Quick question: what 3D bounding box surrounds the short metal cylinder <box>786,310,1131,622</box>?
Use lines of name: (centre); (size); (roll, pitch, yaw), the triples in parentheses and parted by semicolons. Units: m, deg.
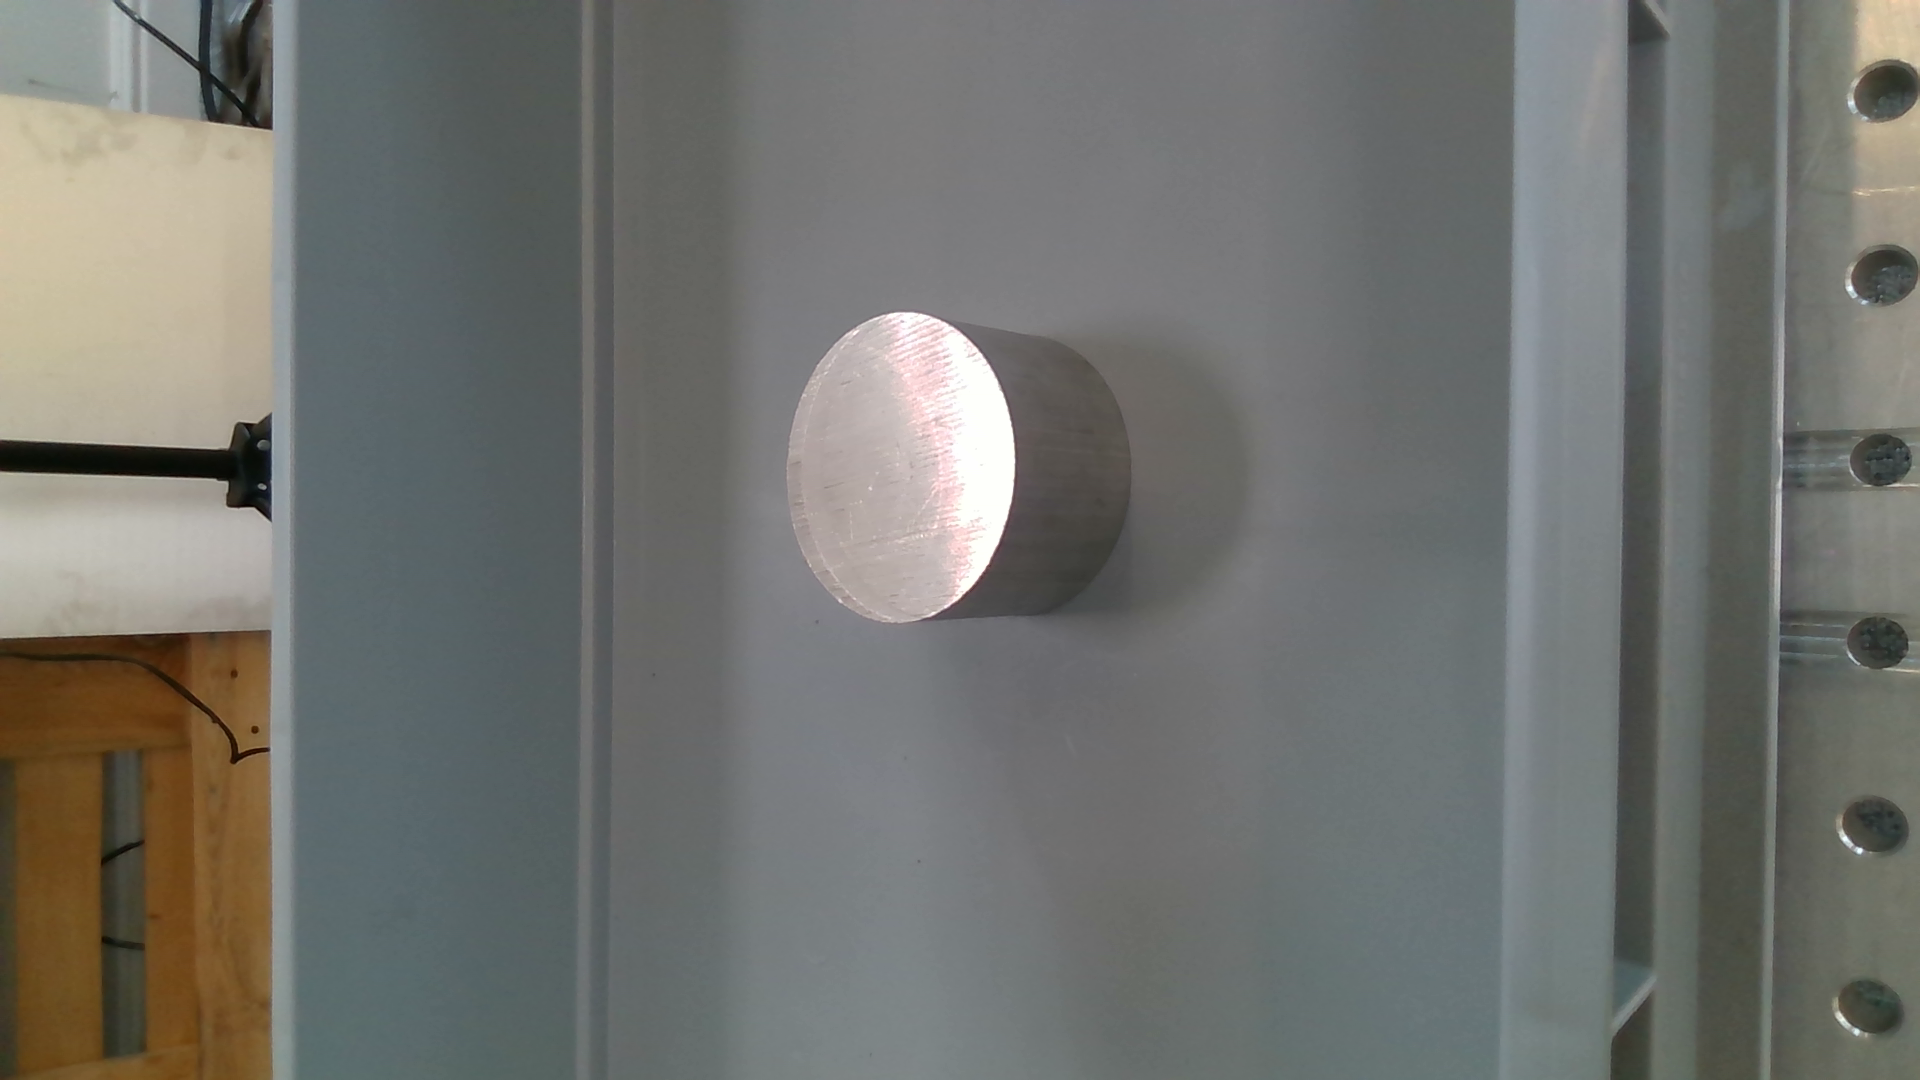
short metal cylinder: (-0.001, -0.019, 0.373); (0.080, 0.050, 0.080); (0, 90, 40)
